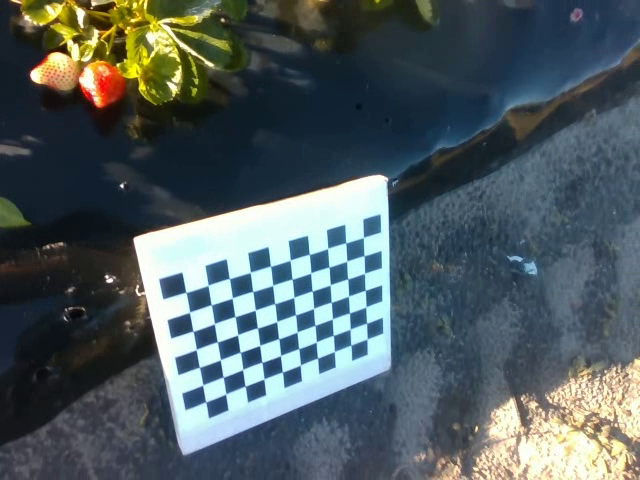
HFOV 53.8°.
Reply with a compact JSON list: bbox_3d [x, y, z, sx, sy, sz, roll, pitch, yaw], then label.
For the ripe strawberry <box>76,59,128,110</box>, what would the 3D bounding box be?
[{"bbox_3d":[-0.182,-0.127,0.525,0.040,0.038,0.055,-18,35,8],"label":"ripe strawberry"}]
